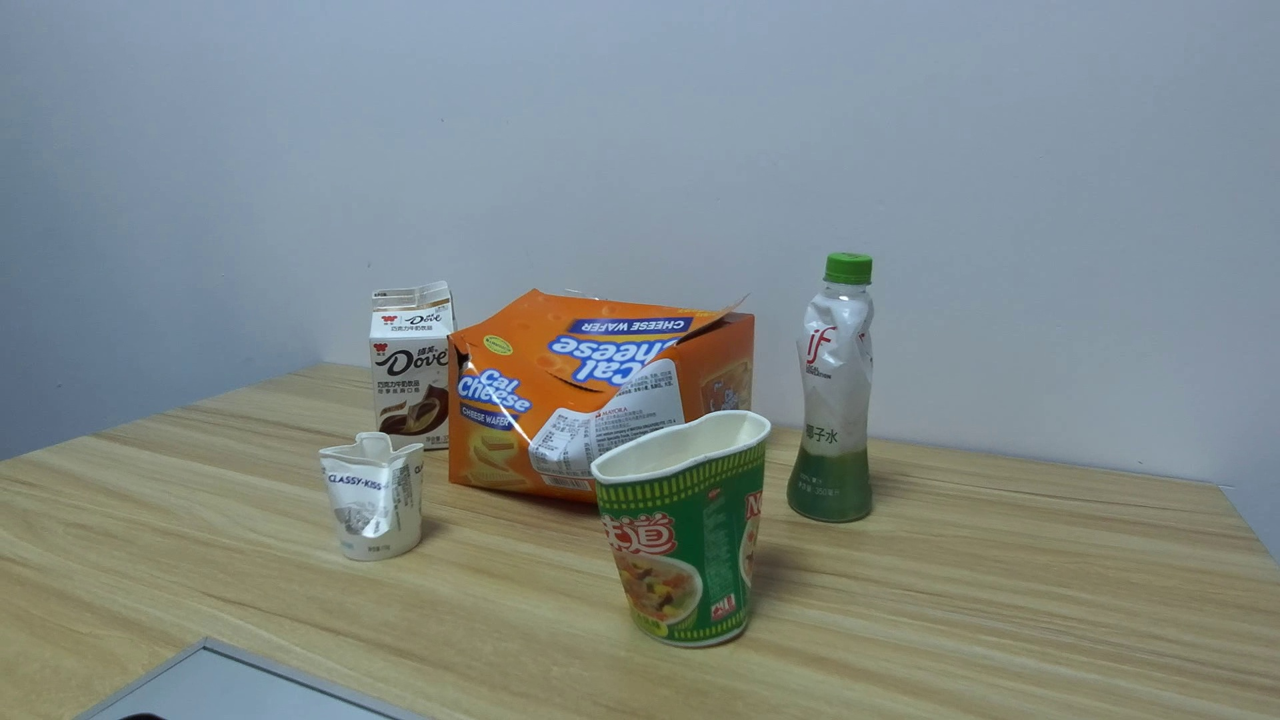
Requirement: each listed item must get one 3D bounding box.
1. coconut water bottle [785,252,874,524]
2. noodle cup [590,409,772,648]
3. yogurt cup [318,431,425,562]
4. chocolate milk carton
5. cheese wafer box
[{"bbox_3d":[0.143,0.019,0.506,0.067,0.187,0.067,1,14,0],"label":"coconut water bottle"},{"bbox_3d":[0.026,0.091,0.389,0.115,0.111,0.070,-7,19,-21],"label":"noodle cup"},{"bbox_3d":[-0.177,0.091,0.478,0.054,0.072,0.055,7,14,30],"label":"yogurt cup"},{"bbox_3d":[-0.206,0.004,0.656,0.075,0.148,0.074,-3,13,-12],"label":"chocolate milk carton"},{"bbox_3d":[-0.033,0.025,0.574,0.218,0.145,0.192,5,16,20],"label":"cheese wafer box"}]
